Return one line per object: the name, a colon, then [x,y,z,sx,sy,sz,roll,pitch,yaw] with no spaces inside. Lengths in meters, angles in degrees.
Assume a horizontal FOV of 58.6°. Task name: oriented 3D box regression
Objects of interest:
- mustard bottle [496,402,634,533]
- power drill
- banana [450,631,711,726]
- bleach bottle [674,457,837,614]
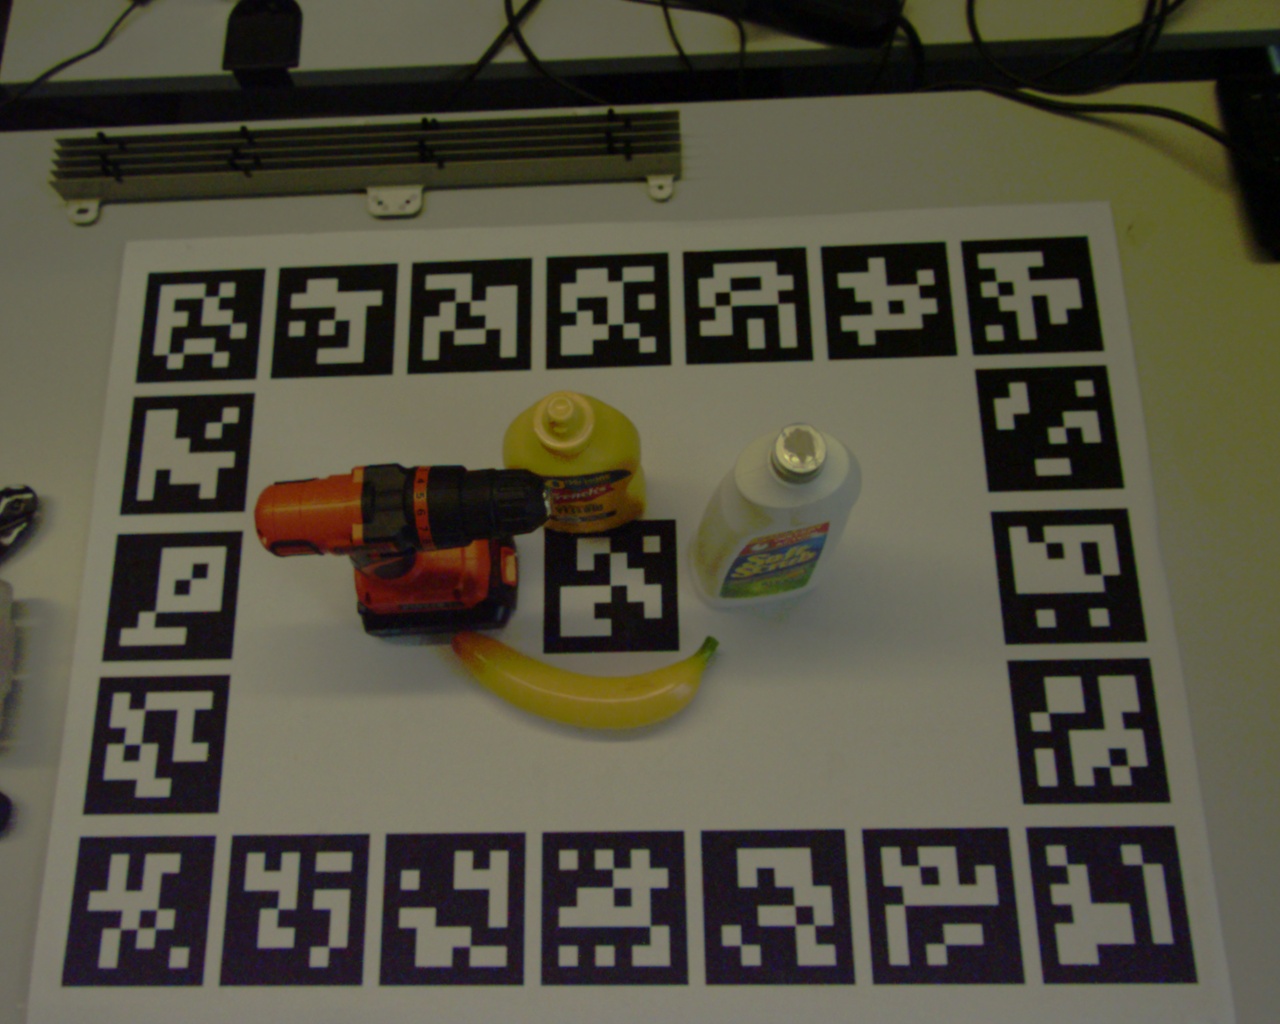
mustard bottle: [-0.054,-0.035,0.826,0.096,0.191,0.058,0,74,1]
power drill: [-0.156,0.020,0.796,0.184,0.186,0.057,-3,68,-1]
banana: [-0.047,0.123,0.858,0.198,0.038,0.074,2,79,5]
bleach bottle: [0.076,0.014,0.783,0.102,0.250,0.068,-9,76,0]
